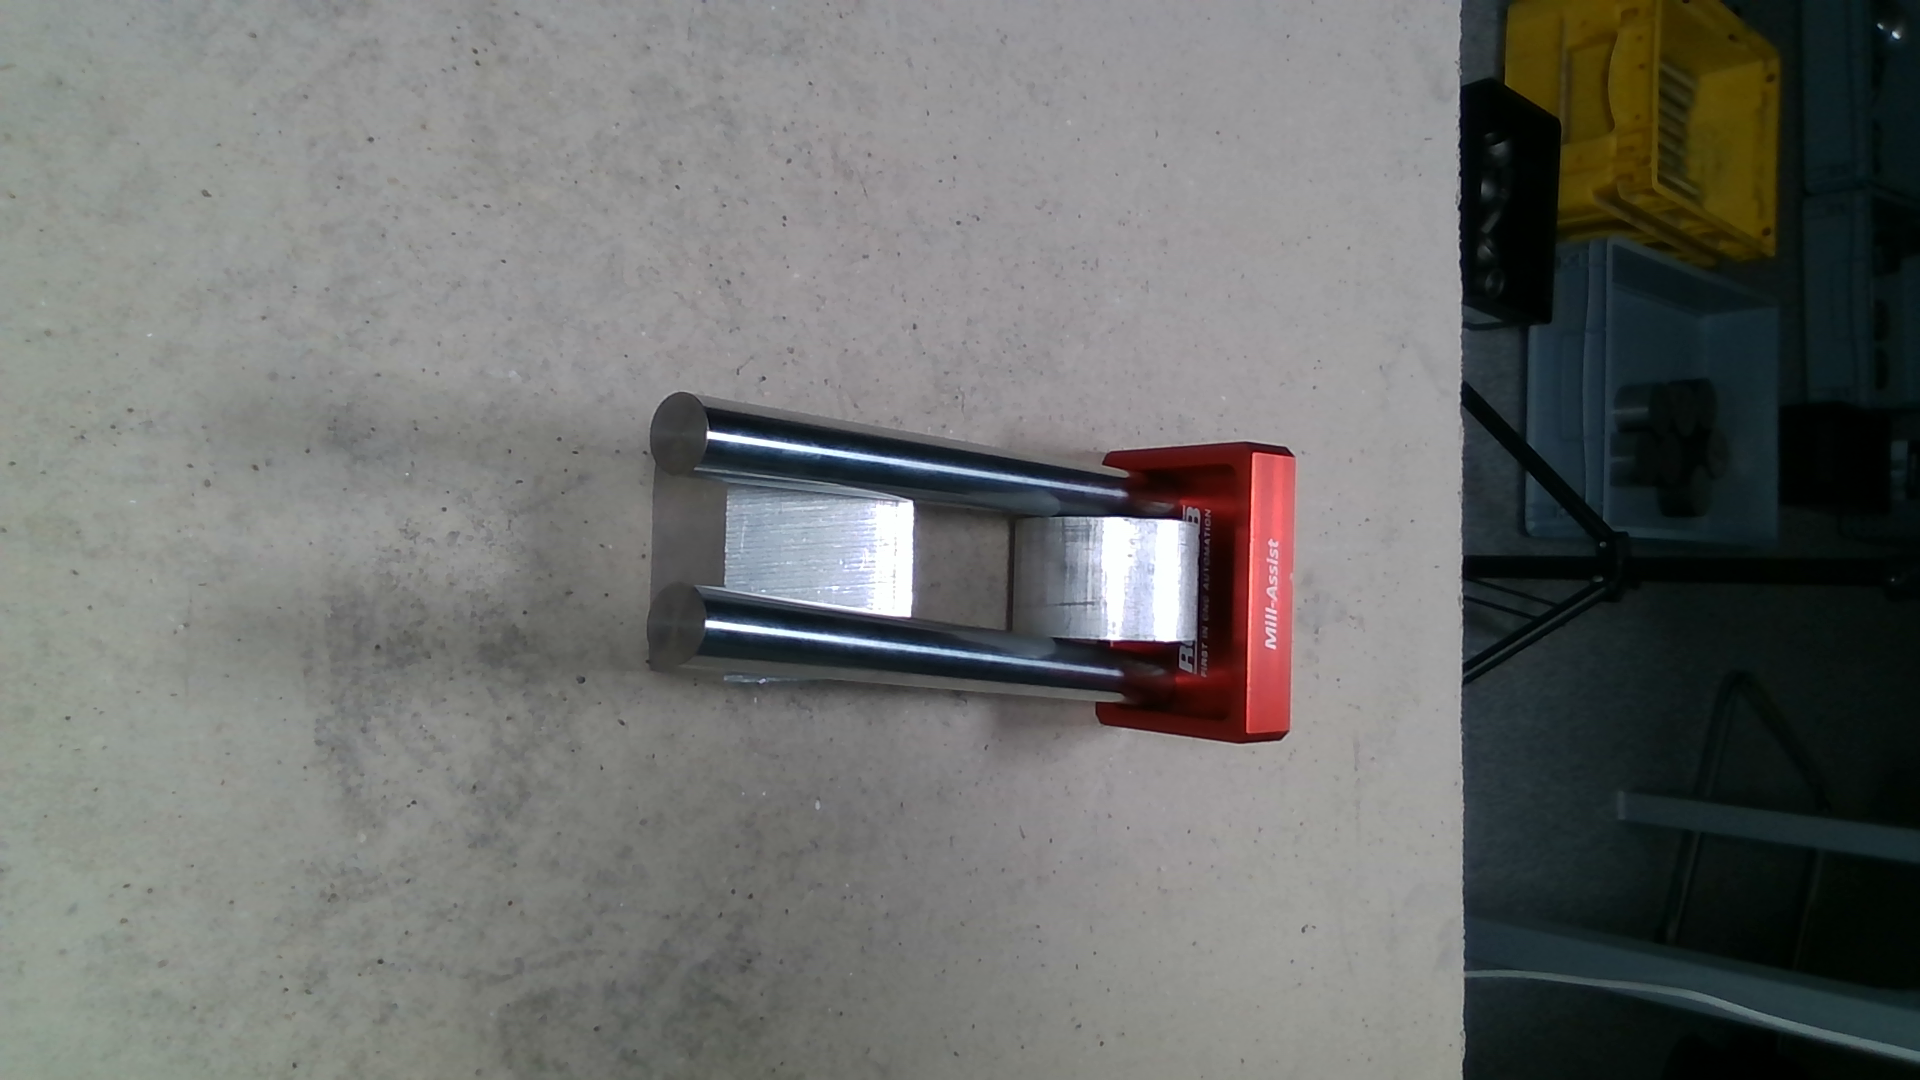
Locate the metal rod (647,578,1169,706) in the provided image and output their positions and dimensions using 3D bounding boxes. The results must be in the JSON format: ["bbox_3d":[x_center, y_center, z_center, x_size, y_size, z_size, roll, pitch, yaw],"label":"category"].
[{"bbox_3d":[0.002,0.045,0.524,0.300,0.025,0.025,14,81,-54],"label":"metal rod"}]

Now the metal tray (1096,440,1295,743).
[{"bbox_3d":[0.106,0.023,0.630,0.030,0.090,0.130,3,88,-40],"label":"metal tray"}]

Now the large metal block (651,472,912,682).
[{"bbox_3d":[-0.065,0.009,0.509,0.080,0.050,0.080,2,89,-40],"label":"large metal block"}]

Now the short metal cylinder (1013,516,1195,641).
[{"bbox_3d":[0.063,0.016,0.601,0.080,0.080,0.050,3,89,-40],"label":"short metal cylinder"}]

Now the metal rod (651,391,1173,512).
[{"bbox_3d":[0.004,-0.026,0.527,0.300,0.025,0.025,3,88,-55],"label":"metal rod"}]
